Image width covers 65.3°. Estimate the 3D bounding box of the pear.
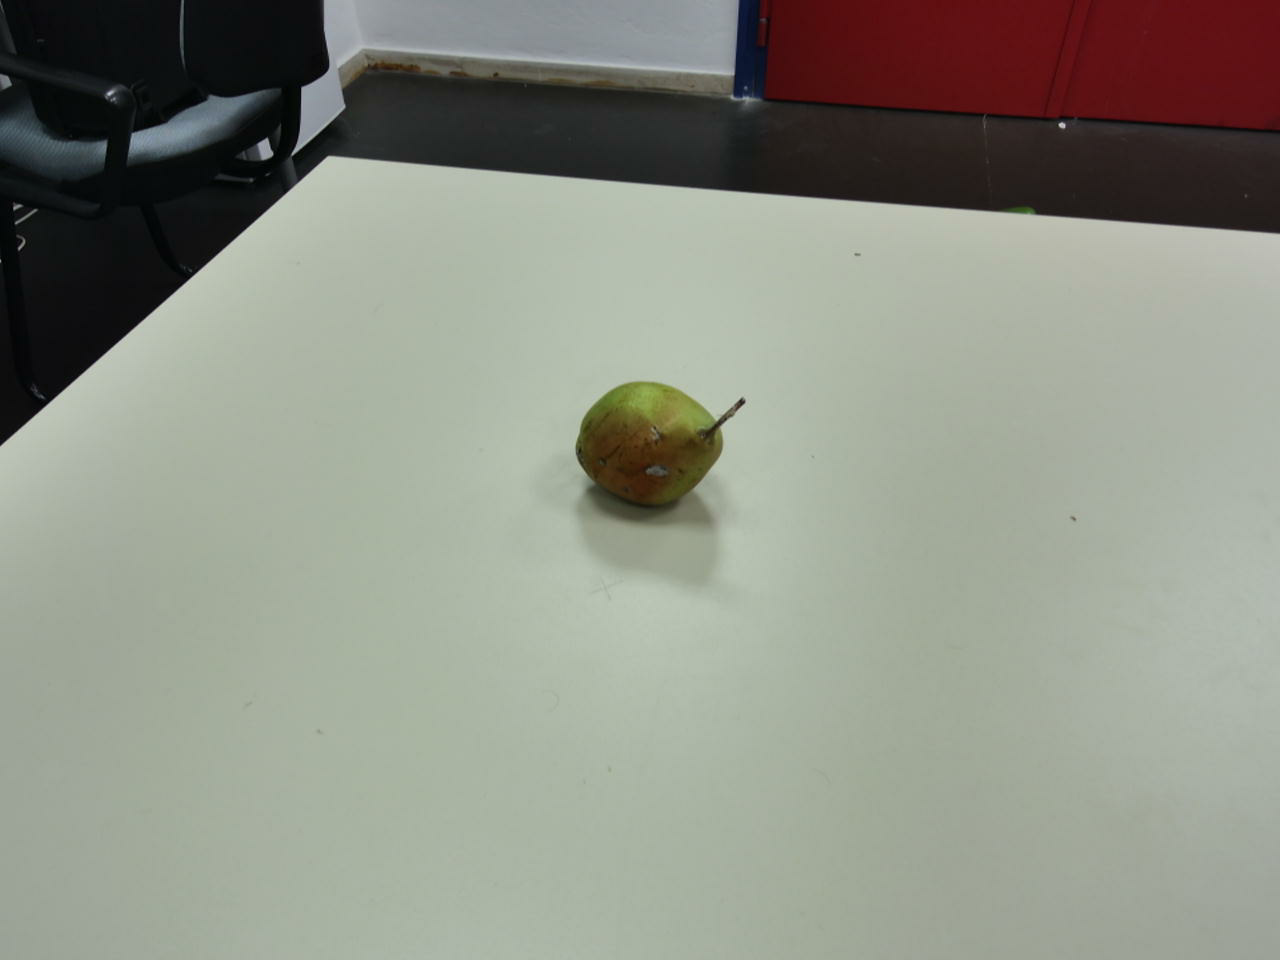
[{"bbox_3d":[0.005,-0.021,0.506,0.068,0.069,0.070,-18,42,-20],"label":"pear"}]
